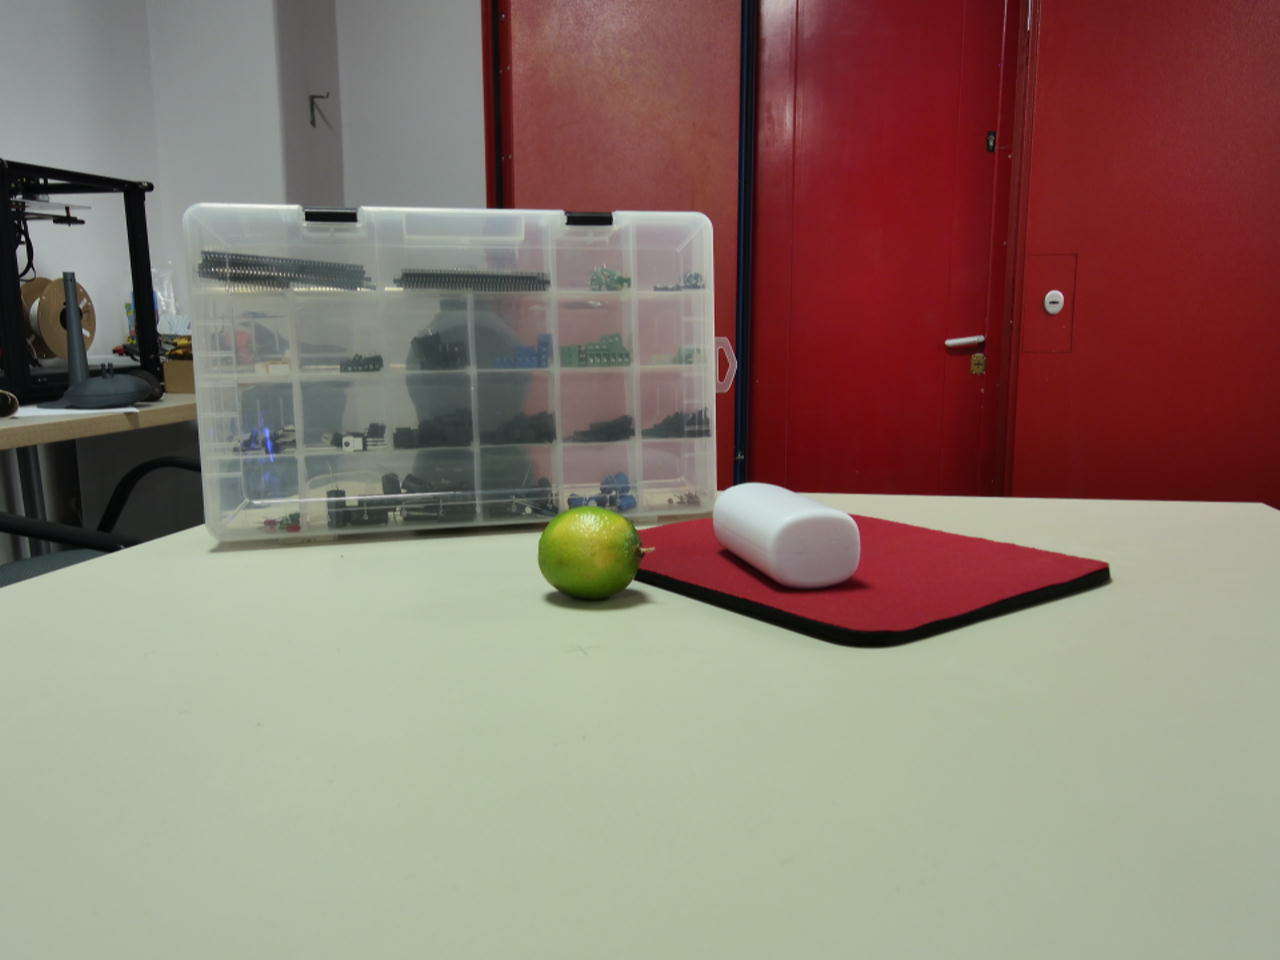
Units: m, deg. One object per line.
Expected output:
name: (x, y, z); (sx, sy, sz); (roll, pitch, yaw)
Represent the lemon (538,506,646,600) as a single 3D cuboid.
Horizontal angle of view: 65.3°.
lemon: (-0.027, 0.039, 0.548); (0.054, 0.050, 0.055); (-4, 7, -28)
